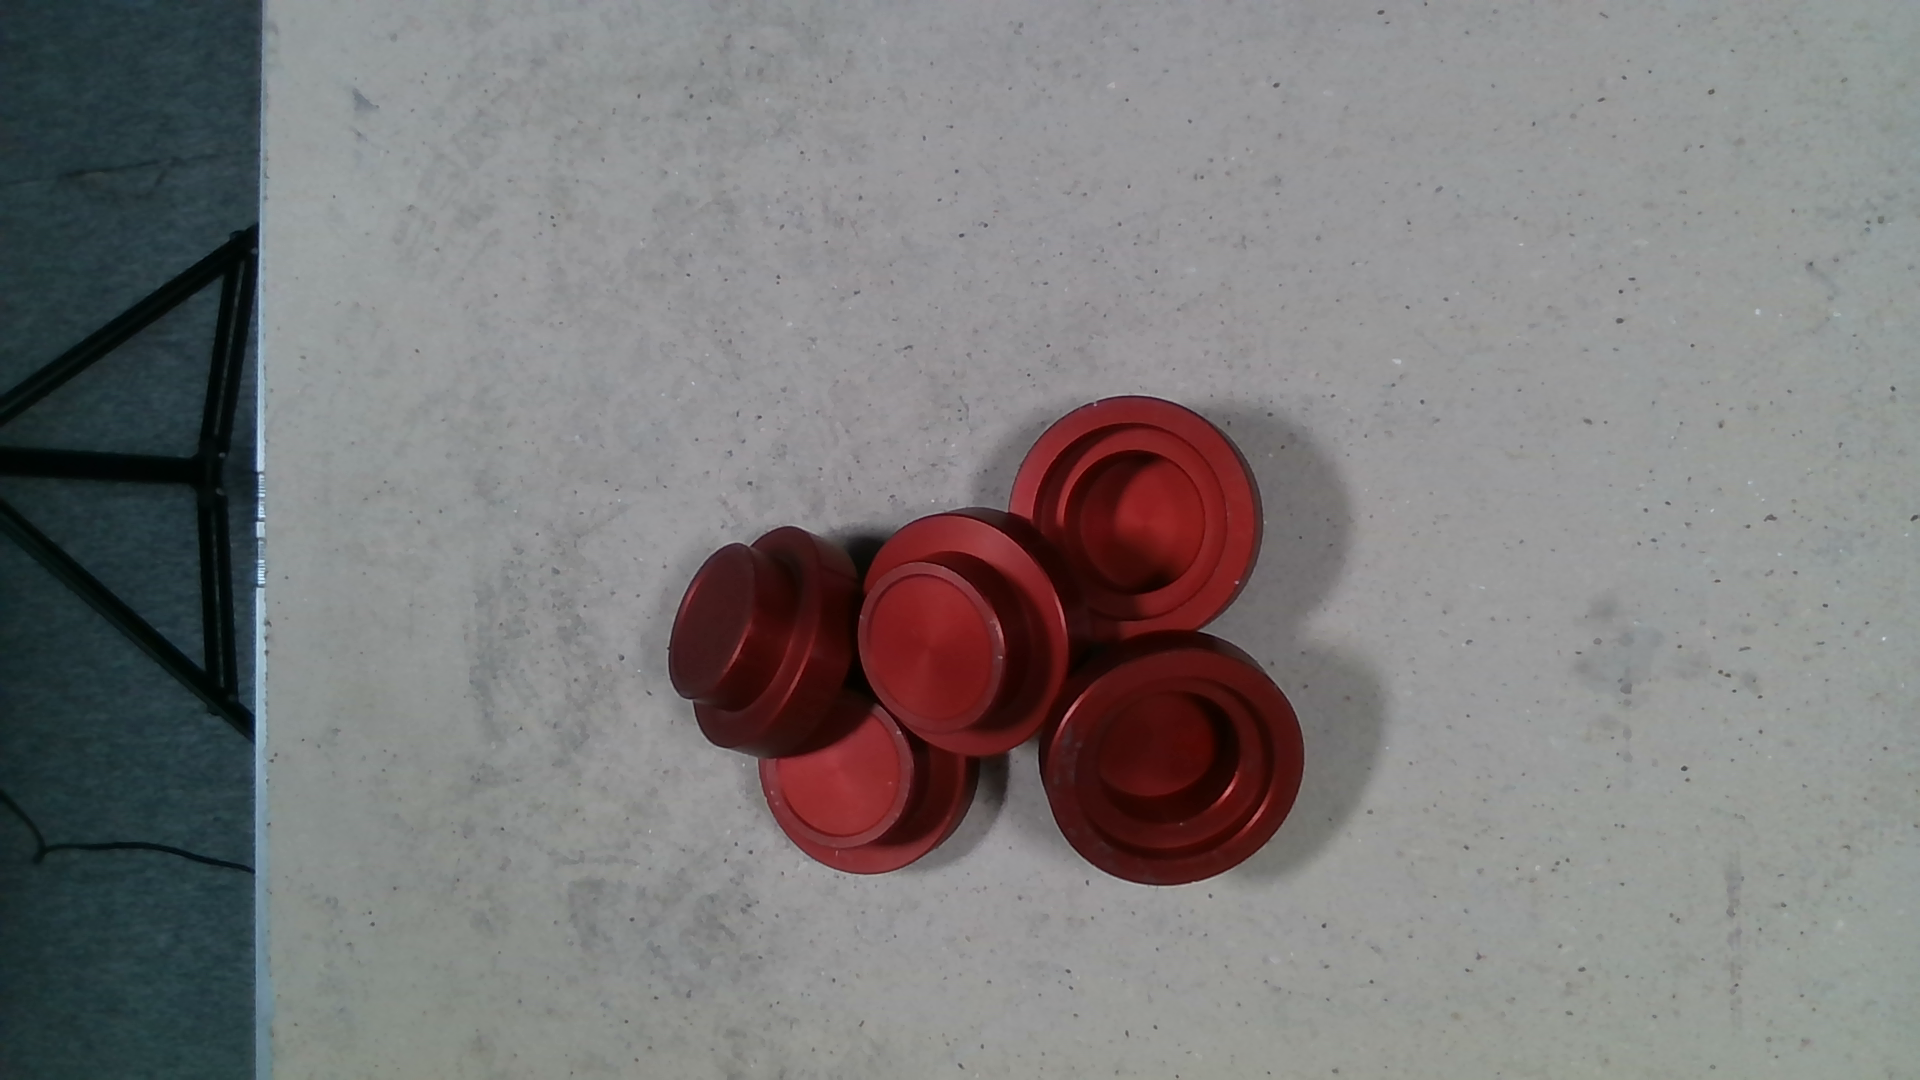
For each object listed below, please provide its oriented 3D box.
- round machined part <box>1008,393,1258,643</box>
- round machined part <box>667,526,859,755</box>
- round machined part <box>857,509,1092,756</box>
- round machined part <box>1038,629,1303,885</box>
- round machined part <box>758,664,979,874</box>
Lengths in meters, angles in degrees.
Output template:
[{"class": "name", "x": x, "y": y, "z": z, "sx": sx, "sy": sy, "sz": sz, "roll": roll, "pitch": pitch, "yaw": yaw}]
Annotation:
[{"class": "round machined part", "x": 0.072, "y": -0.008, "z": 0.550, "sx": 0.098, "sy": 0.042, "sz": 0.098, "roll": 0, "pitch": 91, "yaw": 20}, {"class": "round machined part", "x": -0.088, "y": 0.039, "z": 0.583, "sx": 0.098, "sy": 0.042, "sz": 0.098, "roll": -31, "pitch": 47, "yaw": 41}, {"class": "round machined part", "x": -0.001, "y": 0.038, "z": 0.542, "sx": 0.098, "sy": 0.042, "sz": 0.098, "roll": 6, "pitch": 101, "yaw": 30}, {"class": "round machined part", "x": 0.079, "y": 0.080, "z": 0.534, "sx": 0.098, "sy": 0.042, "sz": 0.098, "roll": -2, "pitch": 108, "yaw": -6}, {"class": "round machined part", "x": -0.044, "y": 0.095, "z": 0.594, "sx": 0.098, "sy": 0.042, "sz": 0.098, "roll": 0, "pitch": 91, "yaw": 20}]
